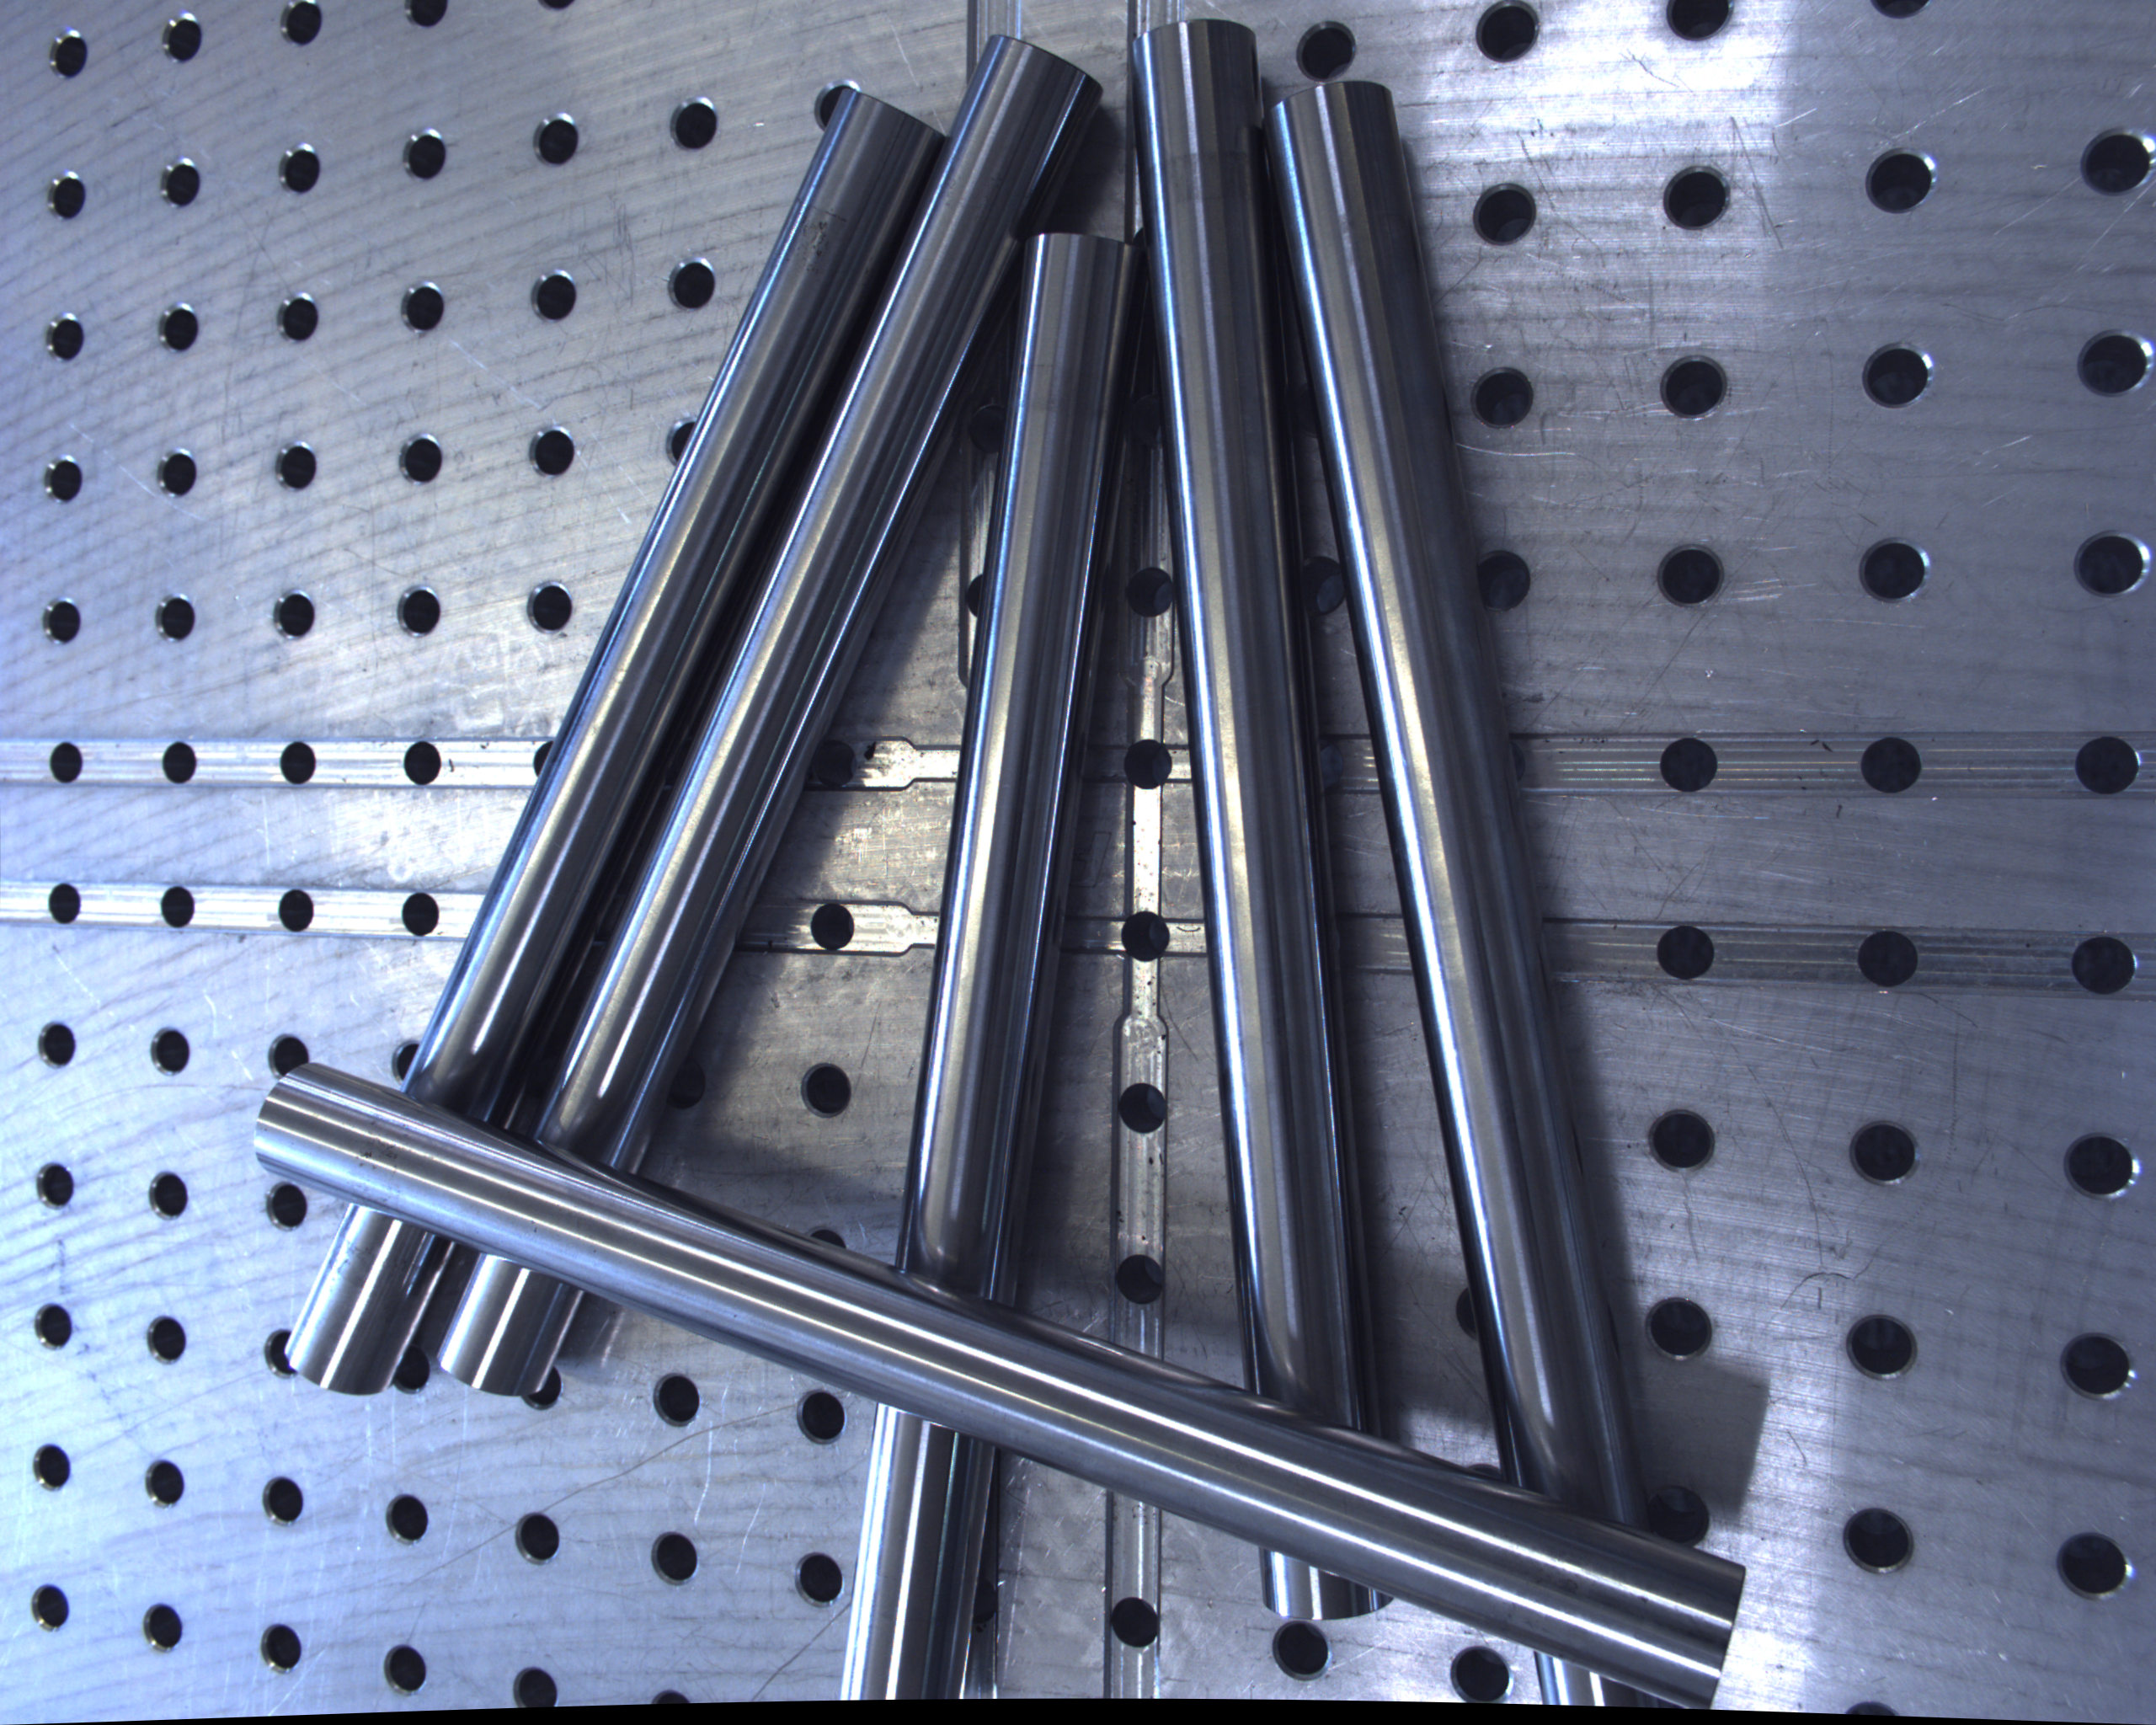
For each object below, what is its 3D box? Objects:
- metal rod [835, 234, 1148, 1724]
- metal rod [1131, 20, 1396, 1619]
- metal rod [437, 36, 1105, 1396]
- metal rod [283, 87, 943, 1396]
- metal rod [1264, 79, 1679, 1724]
[{"bbox_3d":[-0.017,0.027,0.419,0.025,0.025,0.298,9,93,20],"label":"metal rod"},{"bbox_3d":[0.035,-0.009,0.400,0.025,0.025,0.298,-5,88,20],"label":"metal rod"},{"bbox_3d":[-0.067,-0.024,0.437,0.025,0.025,0.299,27,99,18],"label":"metal rod"},{"bbox_3d":[-0.102,-0.019,0.448,0.025,0.025,0.299,29,99,17],"label":"metal rod"},{"bbox_3d":[0.072,0.004,0.387,0.025,0.025,0.299,-11,86,20],"label":"metal rod"}]
